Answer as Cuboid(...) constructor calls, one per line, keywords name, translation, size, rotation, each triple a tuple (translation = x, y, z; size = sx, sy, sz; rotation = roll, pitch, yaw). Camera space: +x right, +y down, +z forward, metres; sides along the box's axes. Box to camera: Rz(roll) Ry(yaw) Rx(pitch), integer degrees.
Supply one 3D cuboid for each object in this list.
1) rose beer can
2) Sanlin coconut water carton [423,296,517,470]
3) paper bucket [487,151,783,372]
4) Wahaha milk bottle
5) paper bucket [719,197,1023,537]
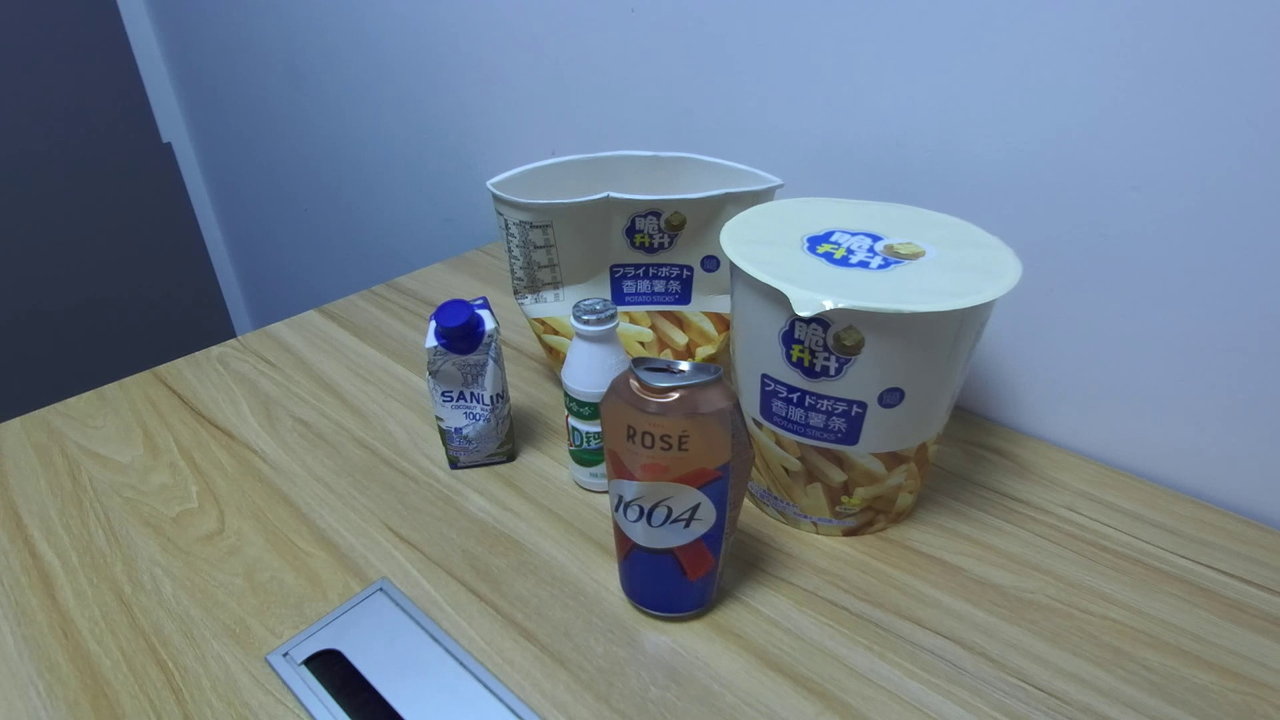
Cuboid(name="rose beer can", translation=(0.019, 0.077, 0.425), size=(0.069, 0.168, 0.069), rotation=(-18, 33, -30))
Cuboid(name="Sanlin coconut water carton", translation=(-0.134, 0.013, 0.550), size=(0.061, 0.144, 0.069), rotation=(-7, 33, -8))
Cuboid(name="paper bucket", translation=(-0.001, -0.073, 0.629), size=(0.219, 0.199, 0.147), rotation=(-20, 38, -28))
Cuboid(name="Wahaha milk bottle", translation=(-0.032, 0.020, 0.531), size=(0.053, 0.147, 0.053), rotation=(0, 44, 0))
Cuboid(name="paper bucket", translation=(0.148, 0.005, 0.512), size=(0.198, 0.195, 0.198), rotation=(0, 32, 0))
